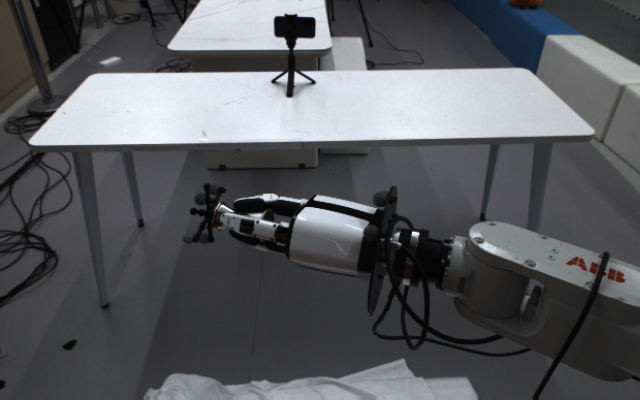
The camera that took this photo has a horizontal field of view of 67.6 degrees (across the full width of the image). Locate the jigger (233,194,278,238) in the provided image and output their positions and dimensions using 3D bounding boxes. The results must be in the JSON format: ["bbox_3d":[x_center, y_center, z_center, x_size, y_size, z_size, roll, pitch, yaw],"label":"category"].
[{"bbox_3d":[-0.094,0.025,0.631,0.071,0.043,0.043,10,35,16],"label":"jigger"}]
